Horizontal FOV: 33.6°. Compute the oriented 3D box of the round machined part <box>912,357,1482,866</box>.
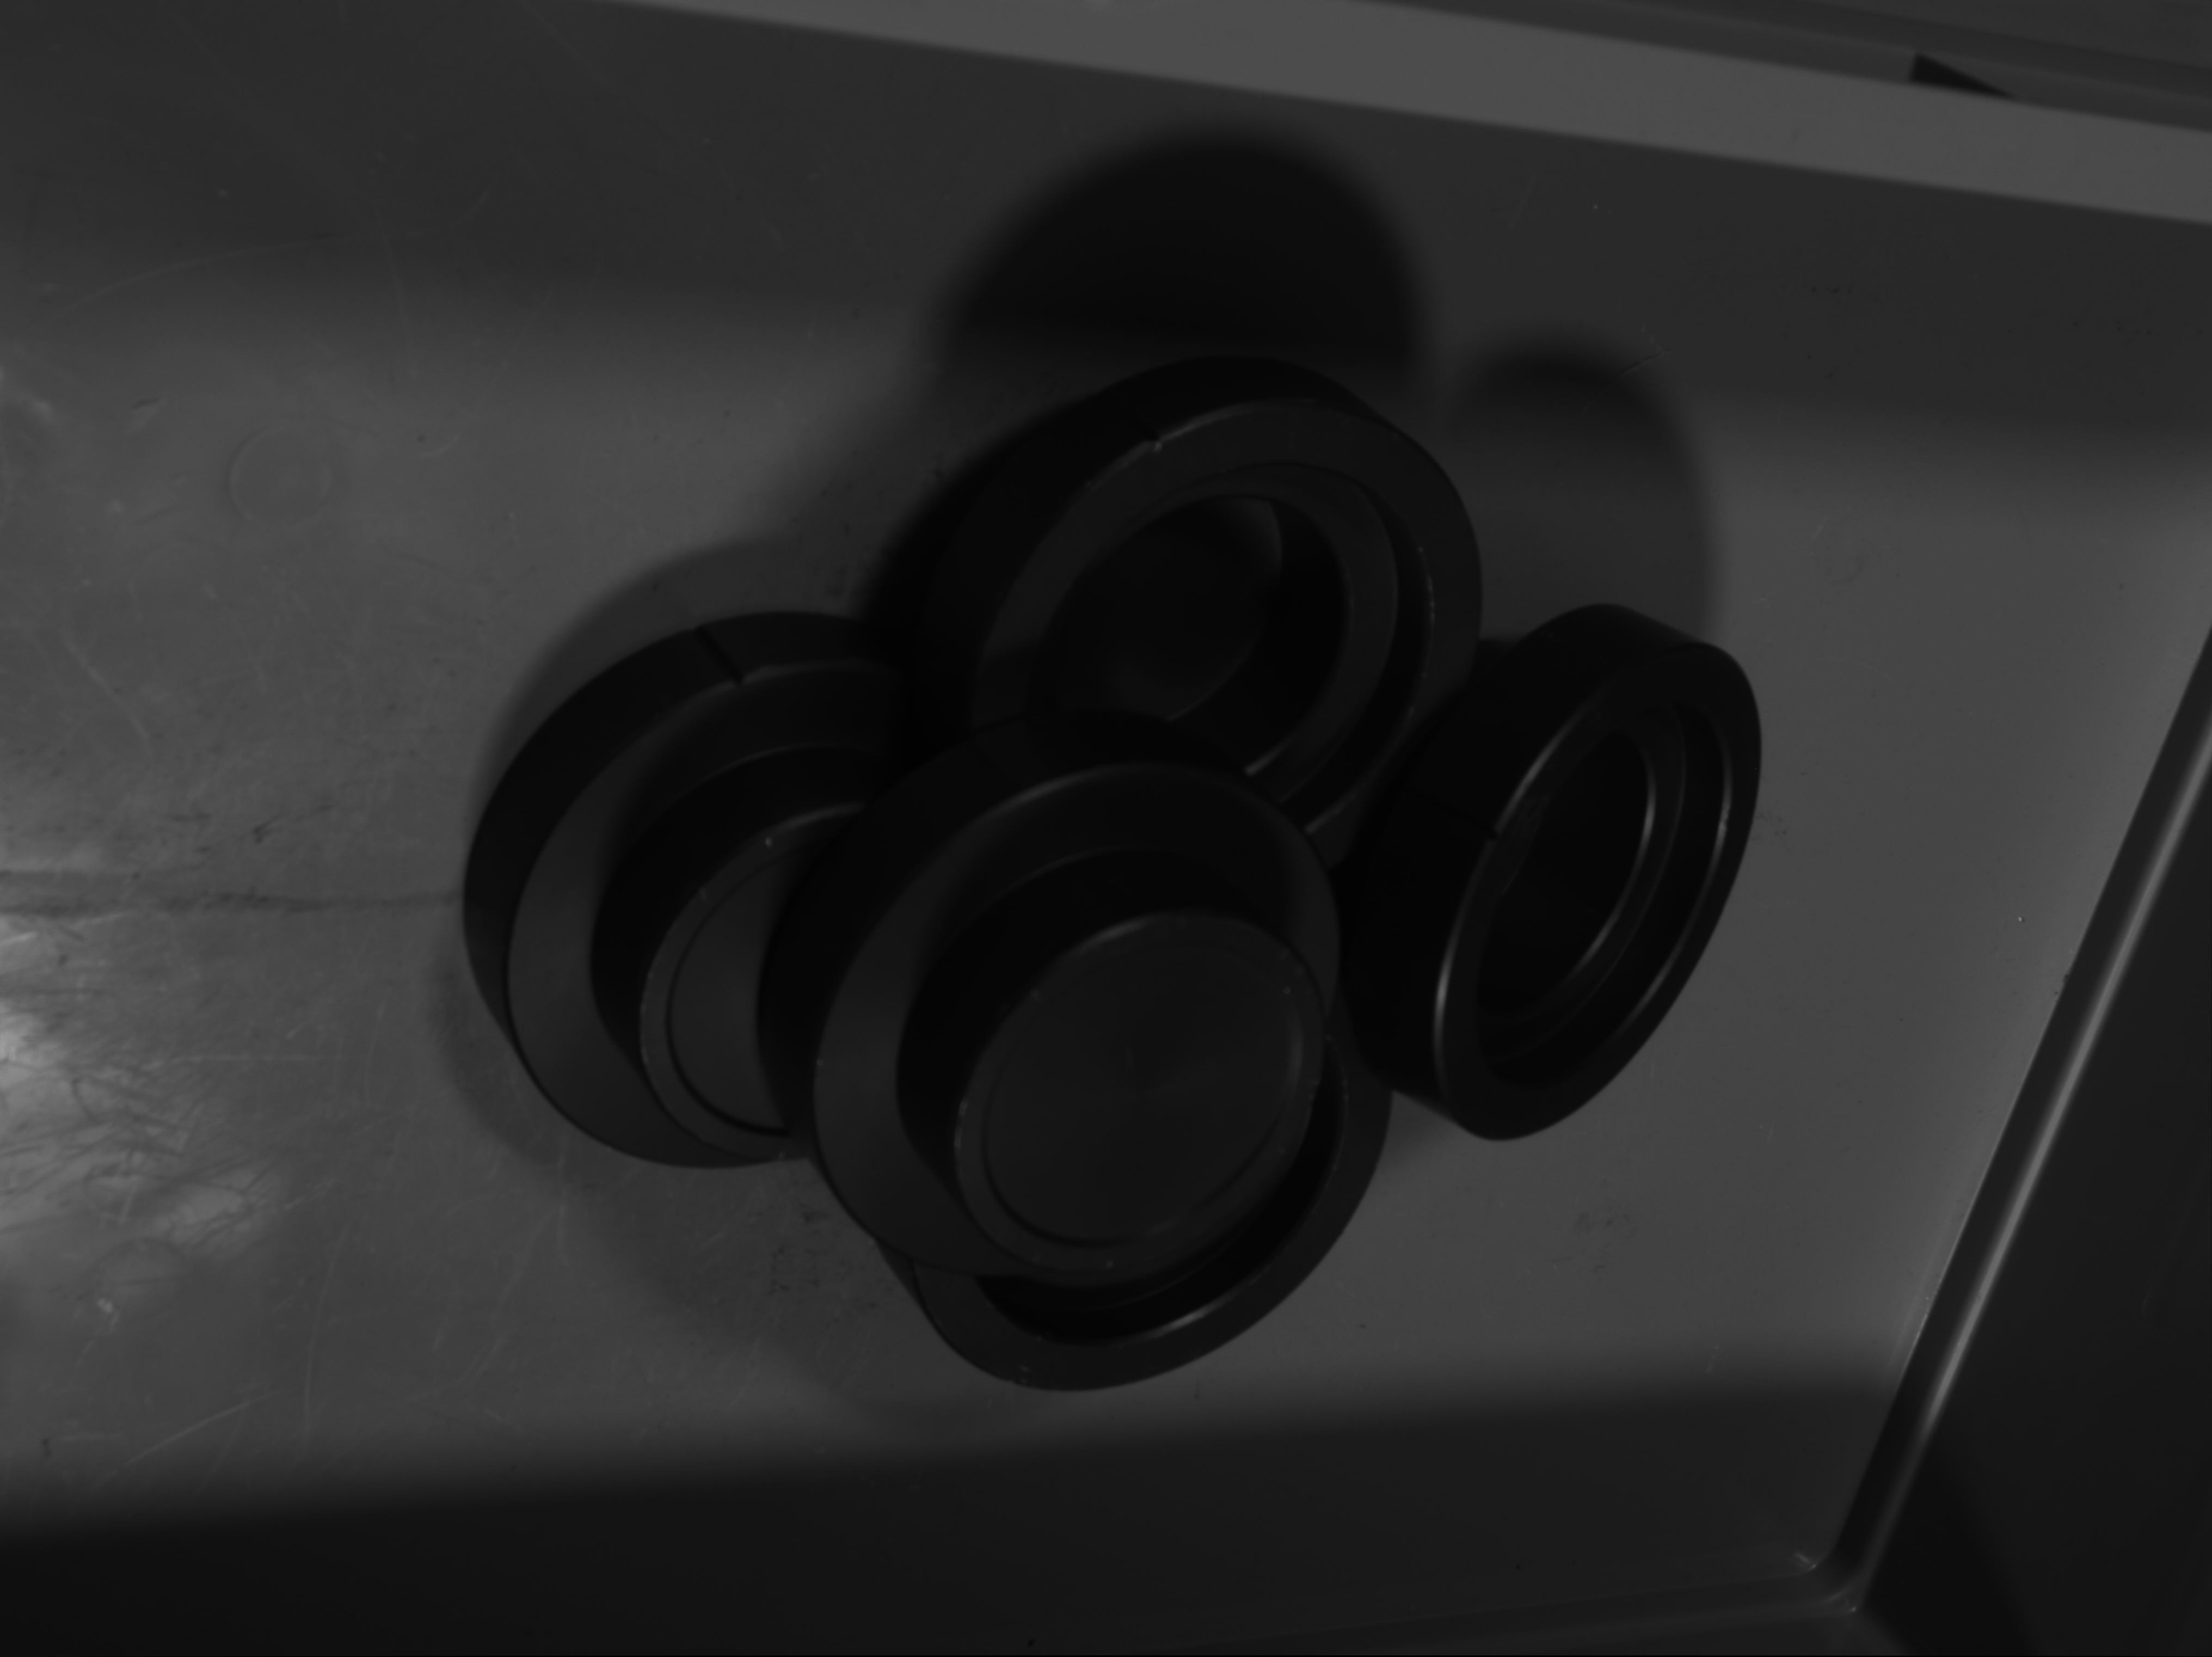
[{"bbox_3d":[0.012,-0.035,0.624,0.098,0.042,0.098,-15,125,-22],"label":"round machined part"}]

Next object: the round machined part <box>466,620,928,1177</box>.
[{"bbox_3d":[-0.054,0.018,0.615,0.098,0.042,0.098,-15,125,-22],"label":"round machined part"}]

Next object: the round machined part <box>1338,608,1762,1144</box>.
[{"bbox_3d":[0.075,0.005,0.671,0.098,0.042,0.098,-32,136,-36],"label":"round machined part"}]

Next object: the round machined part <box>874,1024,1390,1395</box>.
[{"bbox_3d":[0.000,0.052,0.670,0.098,0.042,0.098,-15,125,-22],"label":"round machined part"}]

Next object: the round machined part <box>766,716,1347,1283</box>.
[{"bbox_3d":[-0.003,0.034,0.601,0.098,0.042,0.098,-15,125,-22],"label":"round machined part"}]
